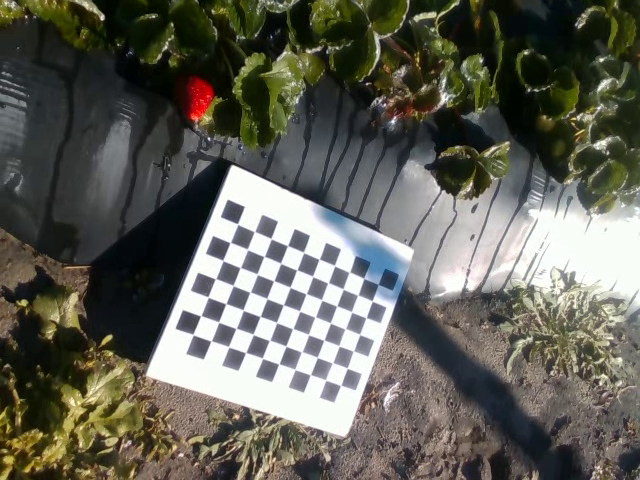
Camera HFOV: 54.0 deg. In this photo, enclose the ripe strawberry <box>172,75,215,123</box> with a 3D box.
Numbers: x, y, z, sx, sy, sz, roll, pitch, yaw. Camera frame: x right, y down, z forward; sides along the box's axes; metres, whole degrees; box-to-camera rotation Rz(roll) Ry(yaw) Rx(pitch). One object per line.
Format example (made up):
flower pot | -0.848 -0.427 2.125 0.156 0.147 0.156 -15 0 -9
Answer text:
ripe strawberry | -0.118 -0.131 0.586 0.041 0.053 0.047 17 -43 -23
